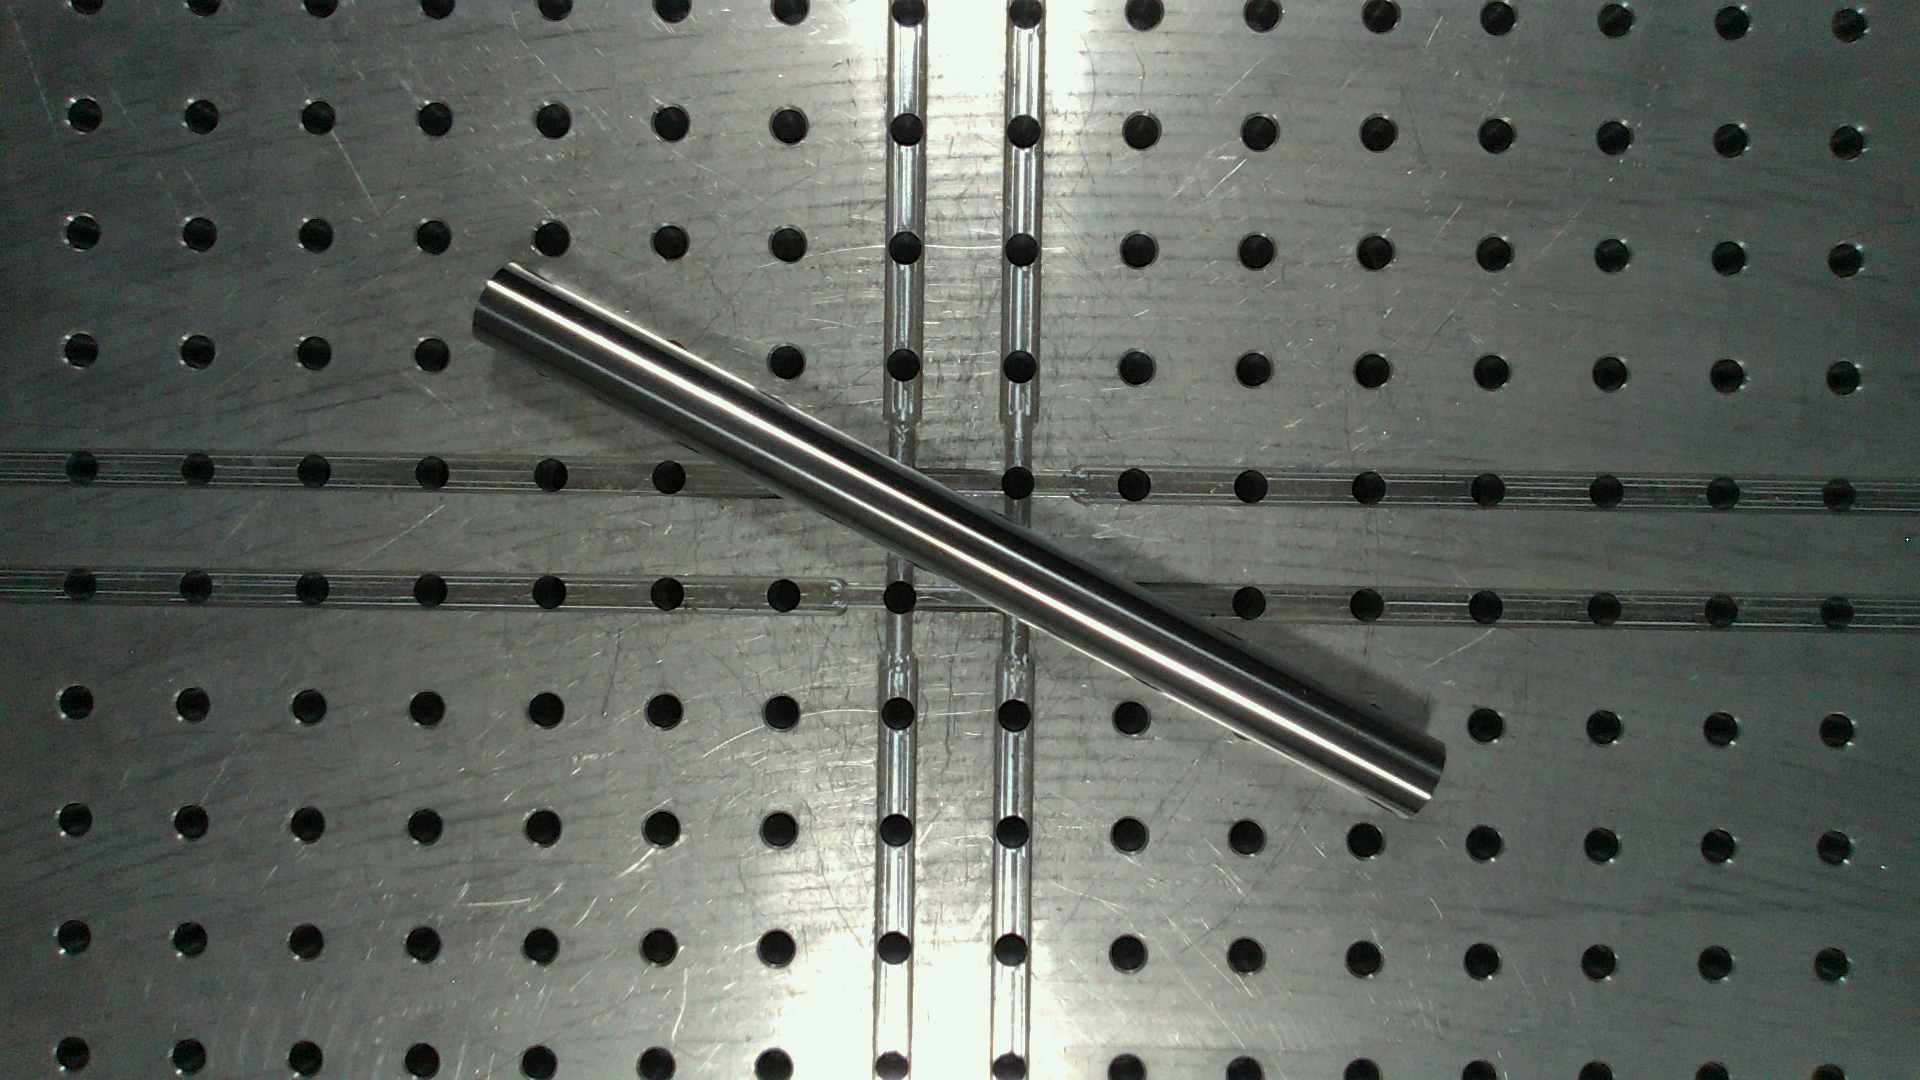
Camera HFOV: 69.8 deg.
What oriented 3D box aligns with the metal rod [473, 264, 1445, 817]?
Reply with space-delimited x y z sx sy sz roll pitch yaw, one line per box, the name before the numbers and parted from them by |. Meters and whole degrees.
metal rod | 0.000 0.000 0.398 0.300 0.025 0.025 27 90 0
